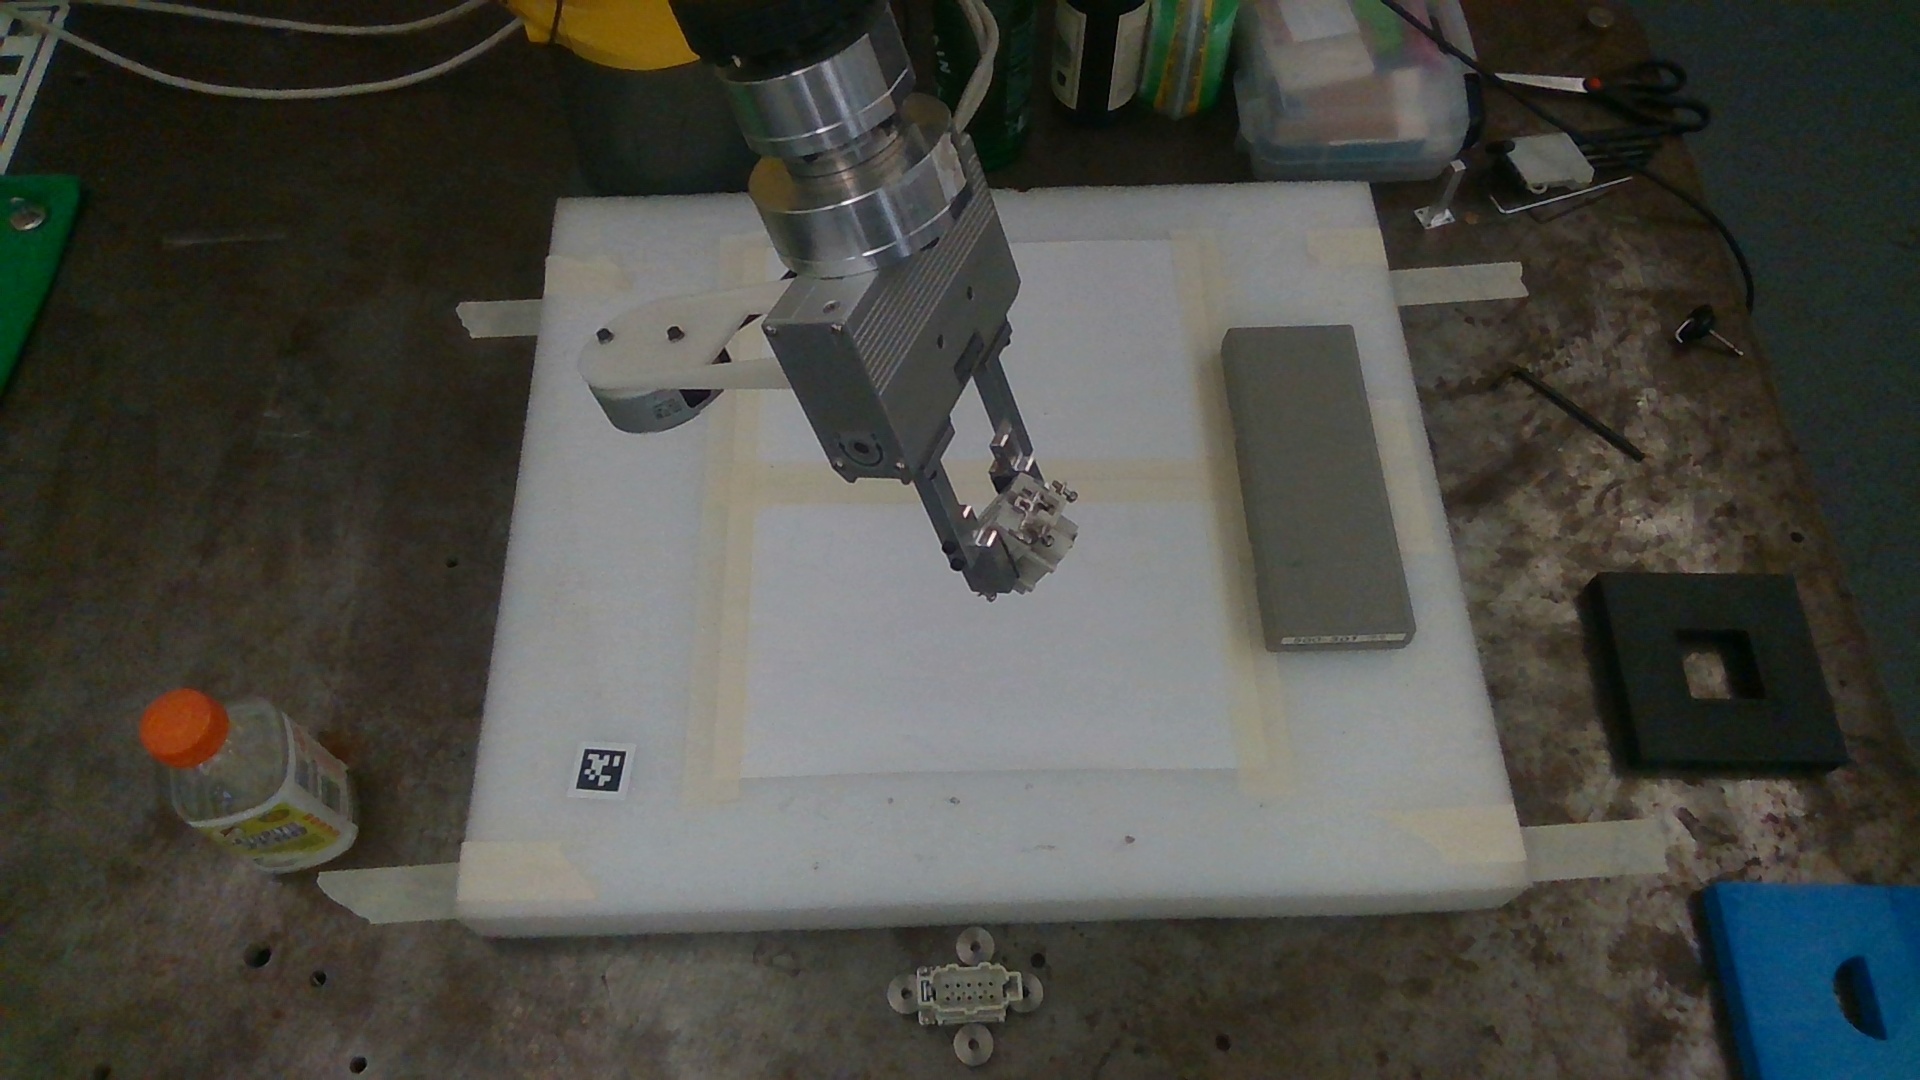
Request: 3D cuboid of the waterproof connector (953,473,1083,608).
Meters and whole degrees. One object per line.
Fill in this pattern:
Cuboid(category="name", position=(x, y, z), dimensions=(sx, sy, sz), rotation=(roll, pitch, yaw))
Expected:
Cuboid(category="waterproof connector", position=(0.028, 0.001, 0.638), dimensions=(0.038, 0.069, 0.036), rotation=(34, 48, -9))
